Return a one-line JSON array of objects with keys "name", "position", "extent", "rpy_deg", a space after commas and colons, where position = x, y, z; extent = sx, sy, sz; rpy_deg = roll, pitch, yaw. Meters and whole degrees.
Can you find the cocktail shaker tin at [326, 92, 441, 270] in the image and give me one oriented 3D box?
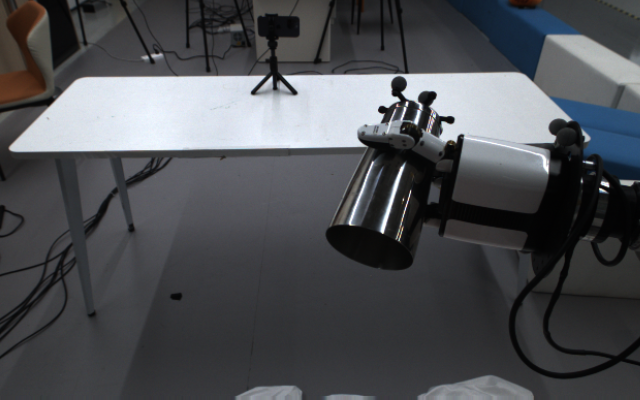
[{"name": "cocktail shaker tin", "position": [0.079, -0.021, 0.516], "extent": [0.093, 0.093, 0.170], "rpy_deg": [14, 63, 17]}]
